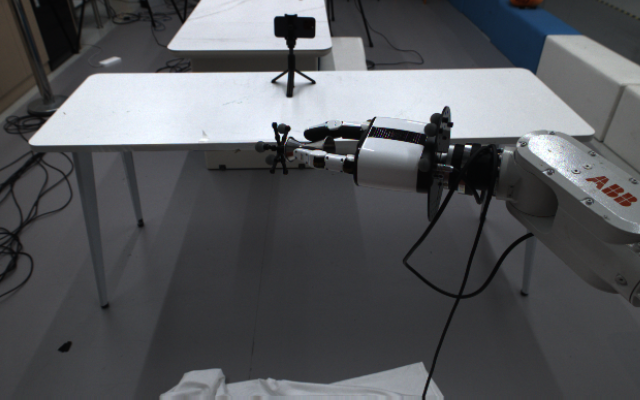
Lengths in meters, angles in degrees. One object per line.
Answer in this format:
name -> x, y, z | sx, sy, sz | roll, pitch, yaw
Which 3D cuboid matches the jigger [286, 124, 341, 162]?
jigger -> -0.009, -0.083, 0.736 | 0.071, 0.043, 0.043 | 3, 32, 25
